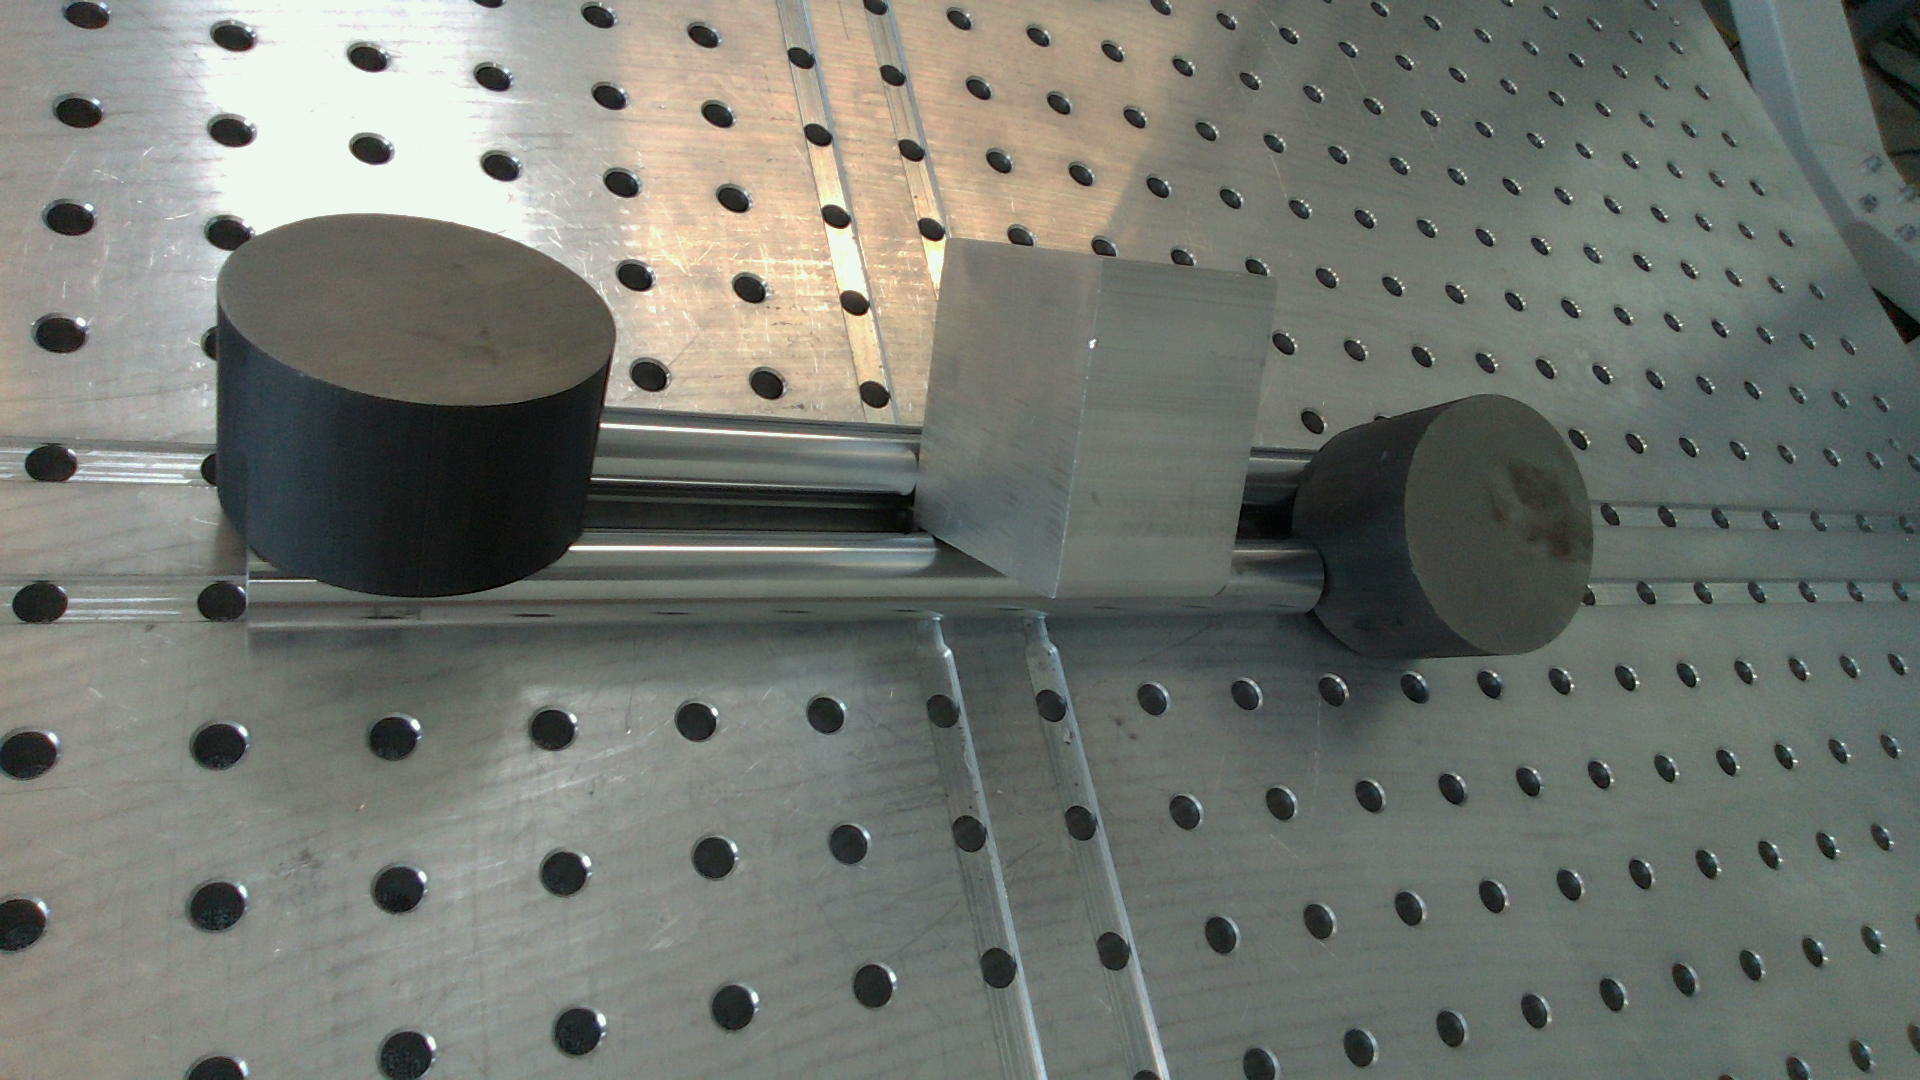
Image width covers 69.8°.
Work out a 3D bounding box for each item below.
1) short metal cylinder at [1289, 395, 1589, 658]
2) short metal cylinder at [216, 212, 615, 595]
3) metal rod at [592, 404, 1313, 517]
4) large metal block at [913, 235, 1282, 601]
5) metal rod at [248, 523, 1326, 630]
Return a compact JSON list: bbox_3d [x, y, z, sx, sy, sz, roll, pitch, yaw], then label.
[{"bbox_3d":[0.154,-0.002,0.444,0.080,0.050,0.080,4,82,-27],"label":"short metal cylinder"},{"bbox_3d":[-0.123,-0.033,0.312,0.080,0.050,0.080,15,34,-10],"label":"short metal cylinder"},{"bbox_3d":[0.034,-0.021,0.423,0.301,0.025,0.025,1,61,-28],"label":"metal rod"},{"bbox_3d":[0.032,-0.034,0.356,0.050,0.080,0.080,1,103,-28],"label":"large metal block"},{"bbox_3d":[-0.024,0.009,0.373,0.301,0.025,0.025,1,61,-28],"label":"metal rod"}]
